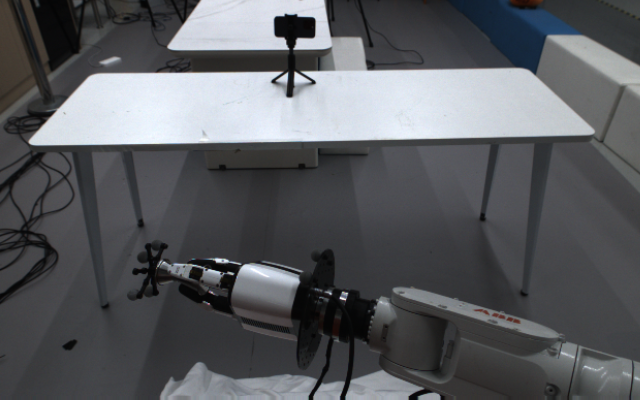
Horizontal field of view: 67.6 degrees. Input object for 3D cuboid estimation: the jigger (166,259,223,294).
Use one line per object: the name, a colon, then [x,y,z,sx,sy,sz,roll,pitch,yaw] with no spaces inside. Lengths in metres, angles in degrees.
jigger: [-0.187,0.105,0.686,0.071,0.043,0.043,7,35,13]
